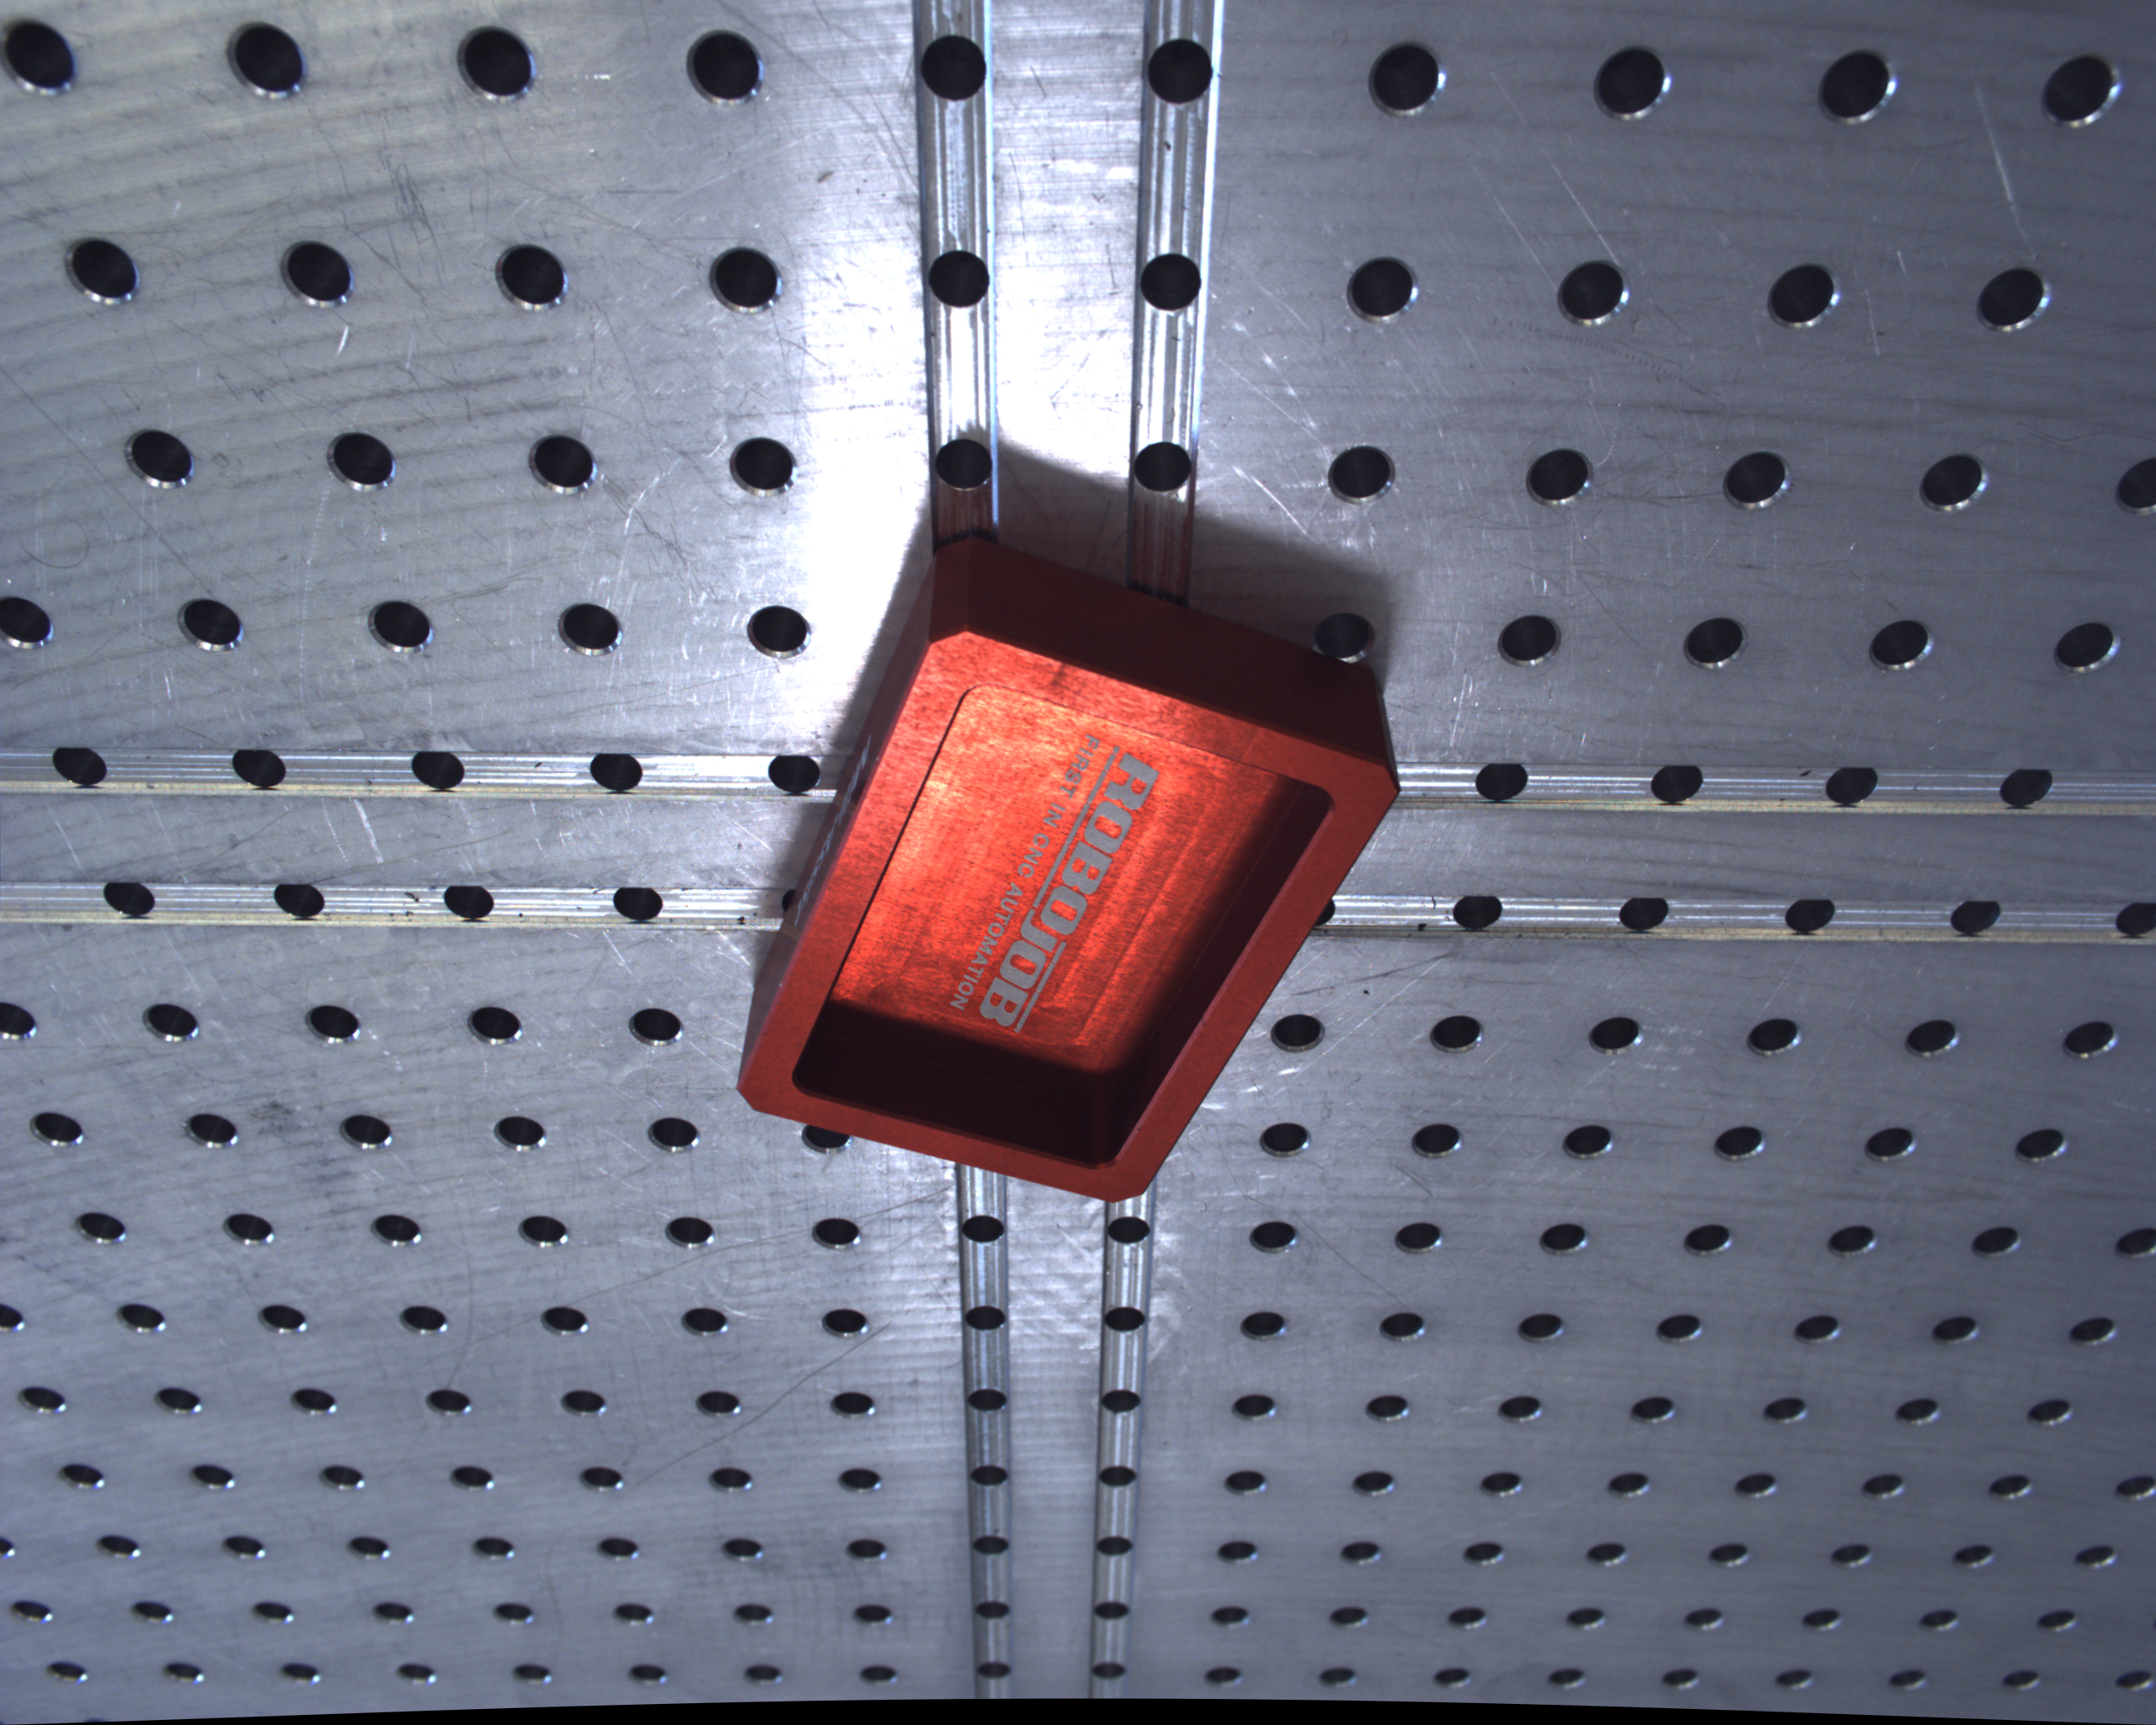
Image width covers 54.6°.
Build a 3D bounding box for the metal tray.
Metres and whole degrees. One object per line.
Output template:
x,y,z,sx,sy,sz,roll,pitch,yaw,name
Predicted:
-0.006,0.007,0.414,0.091,0.030,0.129,16,129,-14,metal tray
